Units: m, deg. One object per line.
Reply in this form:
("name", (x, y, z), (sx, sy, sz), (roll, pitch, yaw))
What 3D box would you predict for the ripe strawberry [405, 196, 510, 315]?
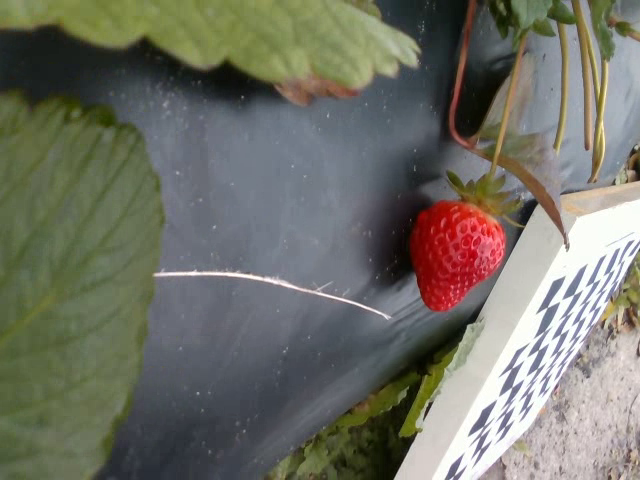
("ripe strawberry", (0.034, 0.005, 0.156), (0.022, 0.033, 0.028), (34, 11, 35))
